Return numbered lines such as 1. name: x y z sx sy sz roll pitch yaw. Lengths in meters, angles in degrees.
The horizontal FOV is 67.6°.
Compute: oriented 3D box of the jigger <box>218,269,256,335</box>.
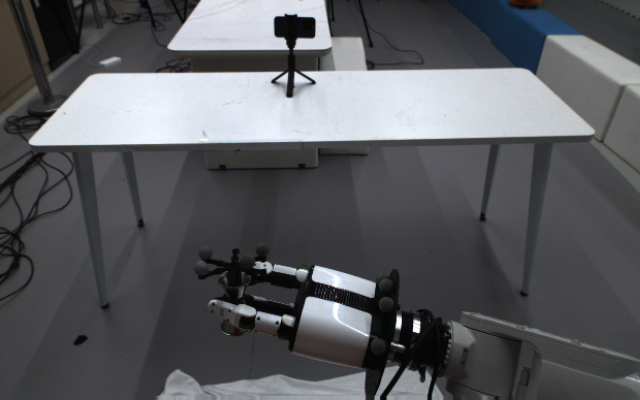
1. jigger: -0.103 0.127 0.601 0.043 0.071 0.043 0 21 0
